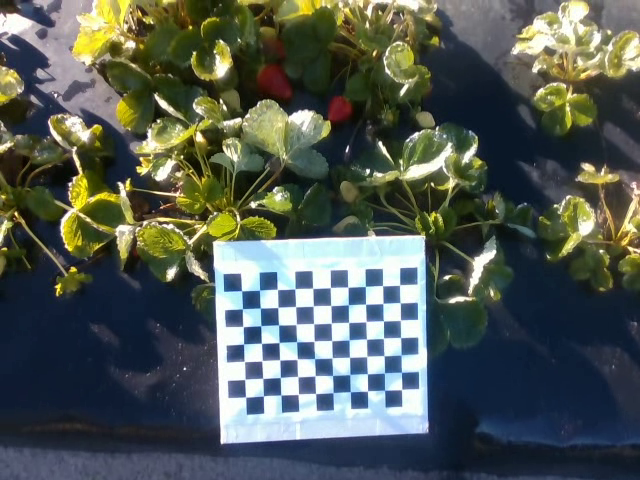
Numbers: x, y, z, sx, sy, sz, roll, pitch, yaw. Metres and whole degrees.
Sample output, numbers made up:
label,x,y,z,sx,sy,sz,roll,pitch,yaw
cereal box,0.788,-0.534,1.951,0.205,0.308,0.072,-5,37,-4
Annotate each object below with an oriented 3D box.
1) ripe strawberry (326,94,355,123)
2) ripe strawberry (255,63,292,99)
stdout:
label,x,y,z,sx,sy,sz,roll,pitch,yaw
ripe strawberry,0.026,-0.176,0.857,0.039,0.047,0.040,37,-17,-7
ripe strawberry,-0.060,-0.215,0.858,0.044,0.056,0.040,-43,6,-7
